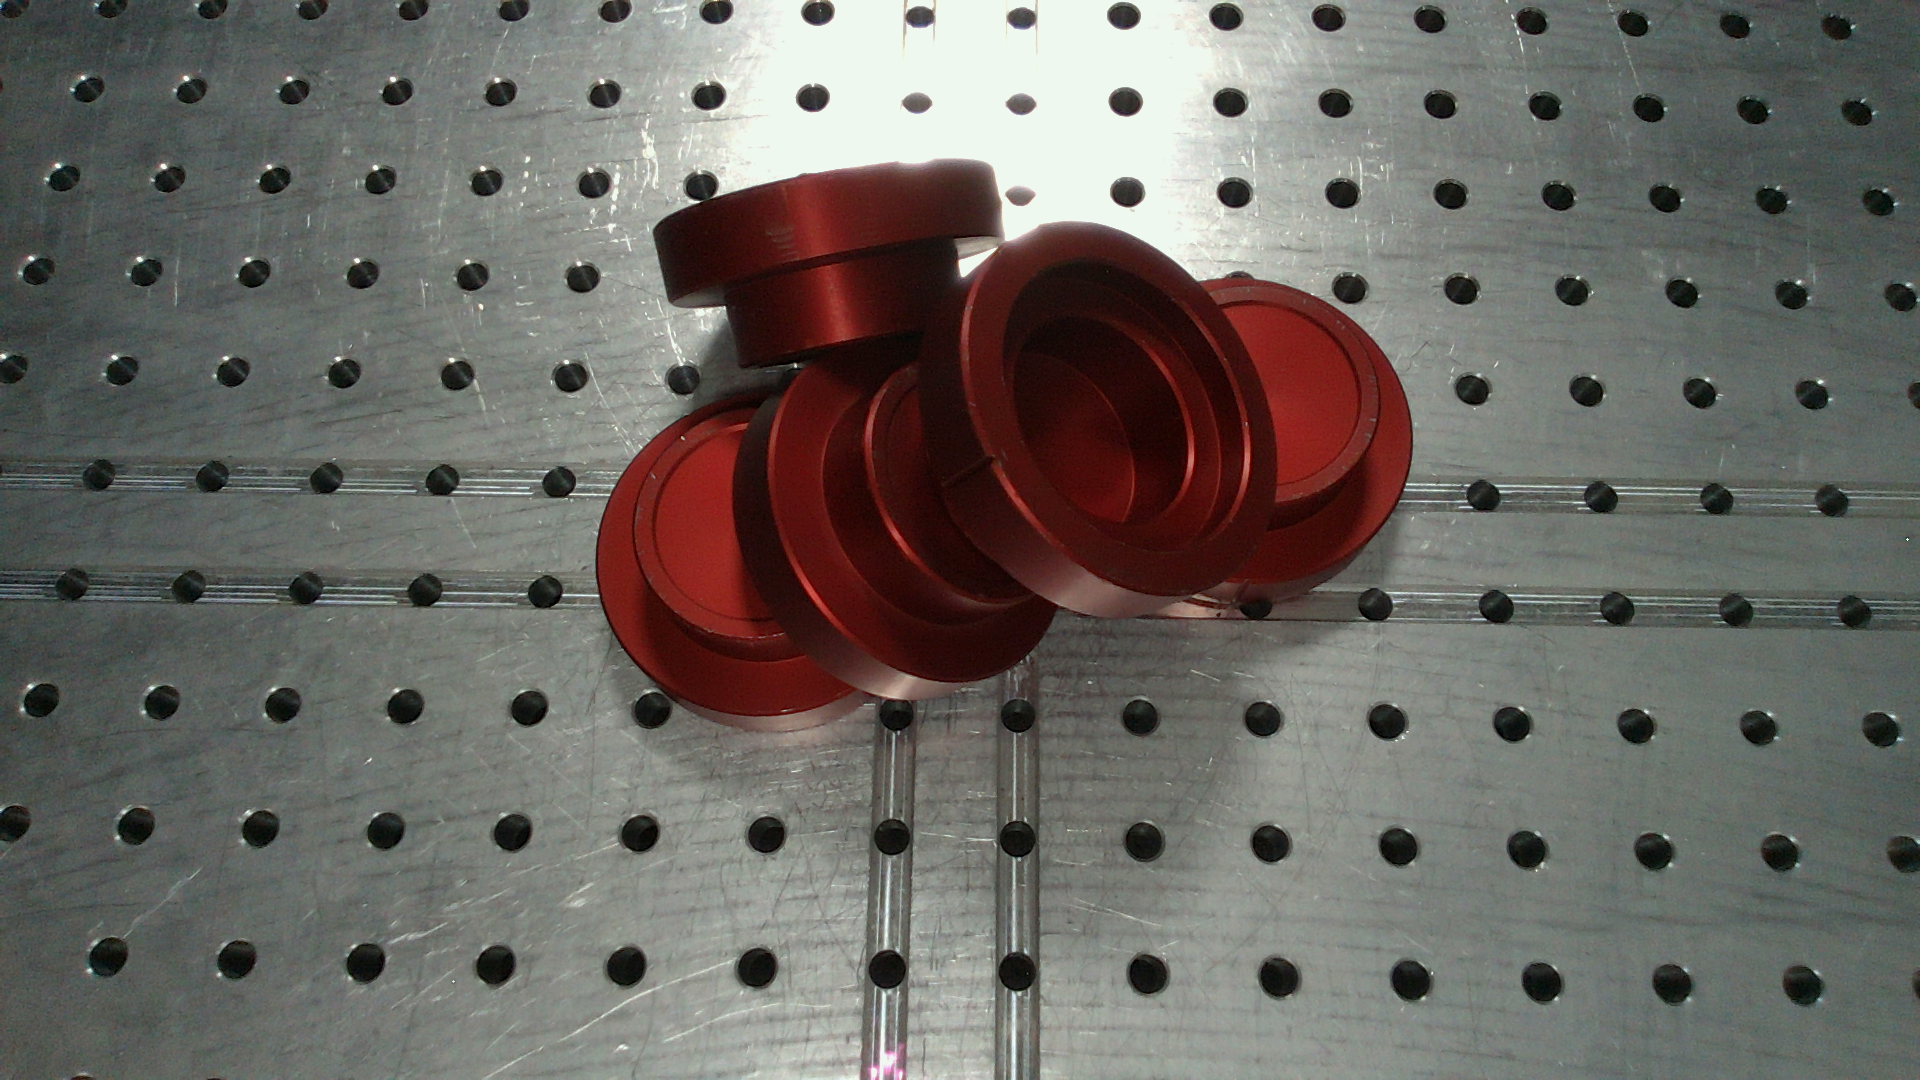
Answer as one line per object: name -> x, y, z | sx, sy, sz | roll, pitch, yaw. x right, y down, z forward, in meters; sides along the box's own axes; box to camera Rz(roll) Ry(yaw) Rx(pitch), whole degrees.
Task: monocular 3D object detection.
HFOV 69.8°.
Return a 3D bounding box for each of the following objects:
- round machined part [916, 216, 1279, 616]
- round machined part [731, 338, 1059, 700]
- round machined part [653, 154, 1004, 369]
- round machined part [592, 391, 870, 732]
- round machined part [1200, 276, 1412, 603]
round machined part -> 0.030, -0.028, 0.347 | 0.098, 0.042, 0.098 | 14, 65, -30
round machined part -> -0.008, -0.010, 0.366 | 0.098, 0.042, 0.098 | 17, 61, -33
round machined part -> -0.034, -0.076, 0.391 | 0.098, 0.098, 0.042 | -12, 96, -4
round machined part -> -0.055, 0.002, 0.387 | 0.098, 0.042, 0.098 | 0, 70, 0
round machined part -> 0.083, -0.035, 0.401 | 0.098, 0.042, 0.098 | 0, 70, 0
